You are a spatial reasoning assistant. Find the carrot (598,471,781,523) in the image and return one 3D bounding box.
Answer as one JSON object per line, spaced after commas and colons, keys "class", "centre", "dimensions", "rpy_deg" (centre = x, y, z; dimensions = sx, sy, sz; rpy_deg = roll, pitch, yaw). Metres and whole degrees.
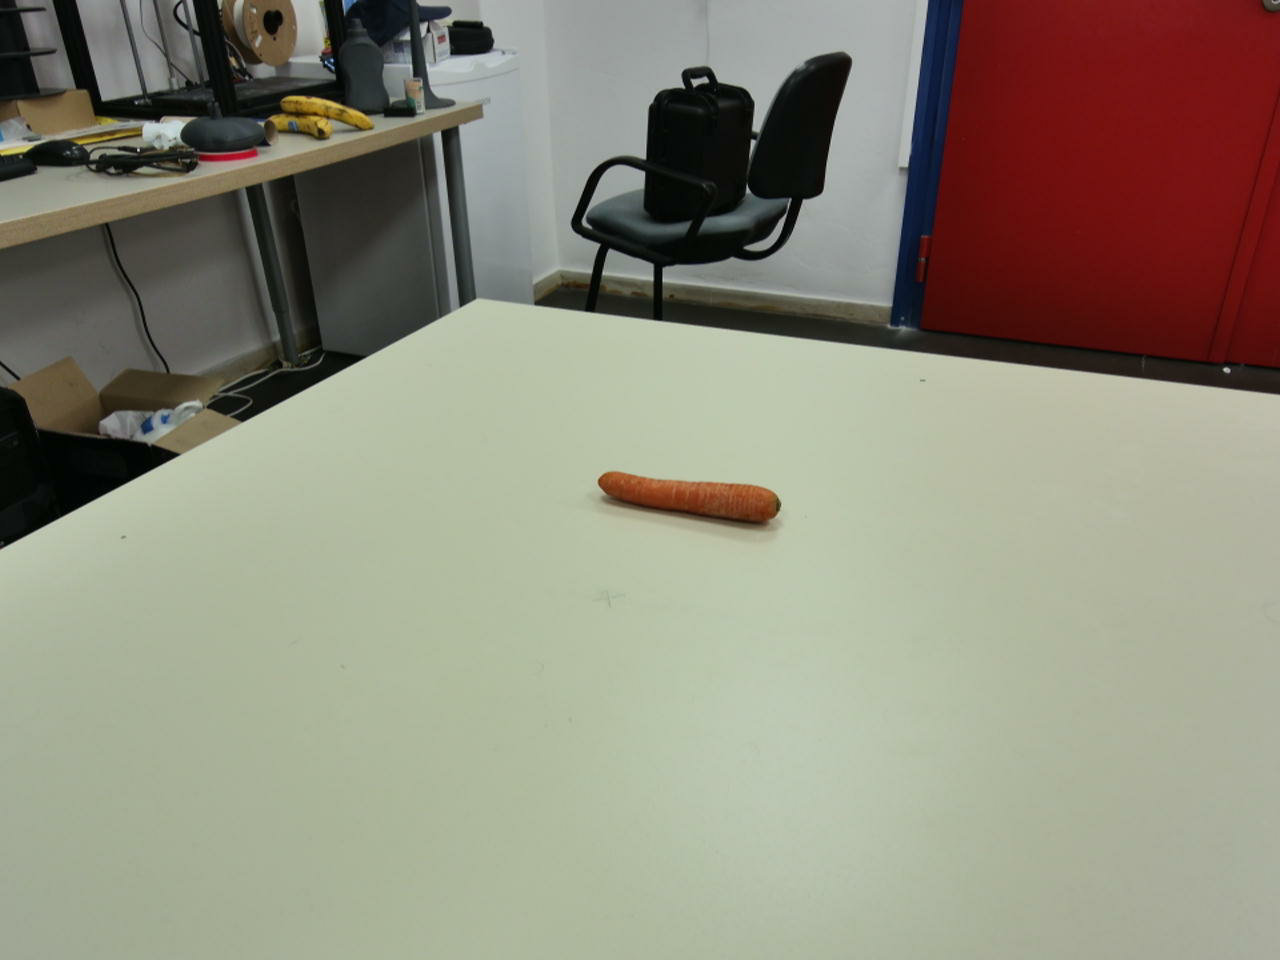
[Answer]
{"class": "carrot", "centre": [0.029, 0.009, 0.638], "dimensions": [0.122, 0.023, 0.024], "rpy_deg": [9, 27, 19]}
